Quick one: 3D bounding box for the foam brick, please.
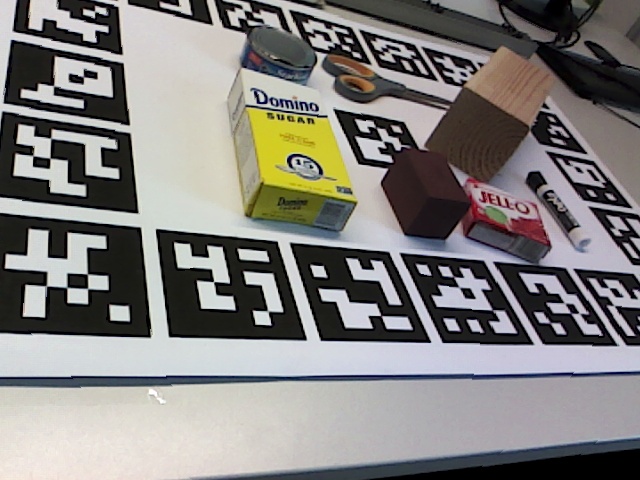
[{"bbox_3d":[0.103,-0.035,0.633,0.052,0.051,0.078,6,47,-25],"label":"foam brick"}]

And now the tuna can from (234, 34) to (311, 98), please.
[{"bbox_3d":[-0.057,-0.203,0.726,0.085,0.034,0.086,16,43,-16],"label":"tuna can"}]

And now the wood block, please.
[{"bbox_3d":[0.223,-0.154,0.805,0.090,0.091,0.206,35,40,7],"label":"wood block"}]

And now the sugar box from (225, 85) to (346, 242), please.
[{"bbox_3d":[-0.038,-0.079,0.609,0.092,0.045,0.177,9,45,-24],"label":"sugar box"}]

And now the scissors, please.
[{"bbox_3d":[0.091,-0.188,0.815,0.202,0.016,0.088,9,45,-19],"label":"scissors"}]

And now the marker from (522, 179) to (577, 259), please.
[{"bbox_3d":[0.278,-0.030,0.757,0.019,0.019,0.121,6,48,-25],"label":"marker"}]

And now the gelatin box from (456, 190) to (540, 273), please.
[{"bbox_3d":[0.192,-0.010,0.682,0.089,0.030,0.073,19,42,-12],"label":"gelatin box"}]
